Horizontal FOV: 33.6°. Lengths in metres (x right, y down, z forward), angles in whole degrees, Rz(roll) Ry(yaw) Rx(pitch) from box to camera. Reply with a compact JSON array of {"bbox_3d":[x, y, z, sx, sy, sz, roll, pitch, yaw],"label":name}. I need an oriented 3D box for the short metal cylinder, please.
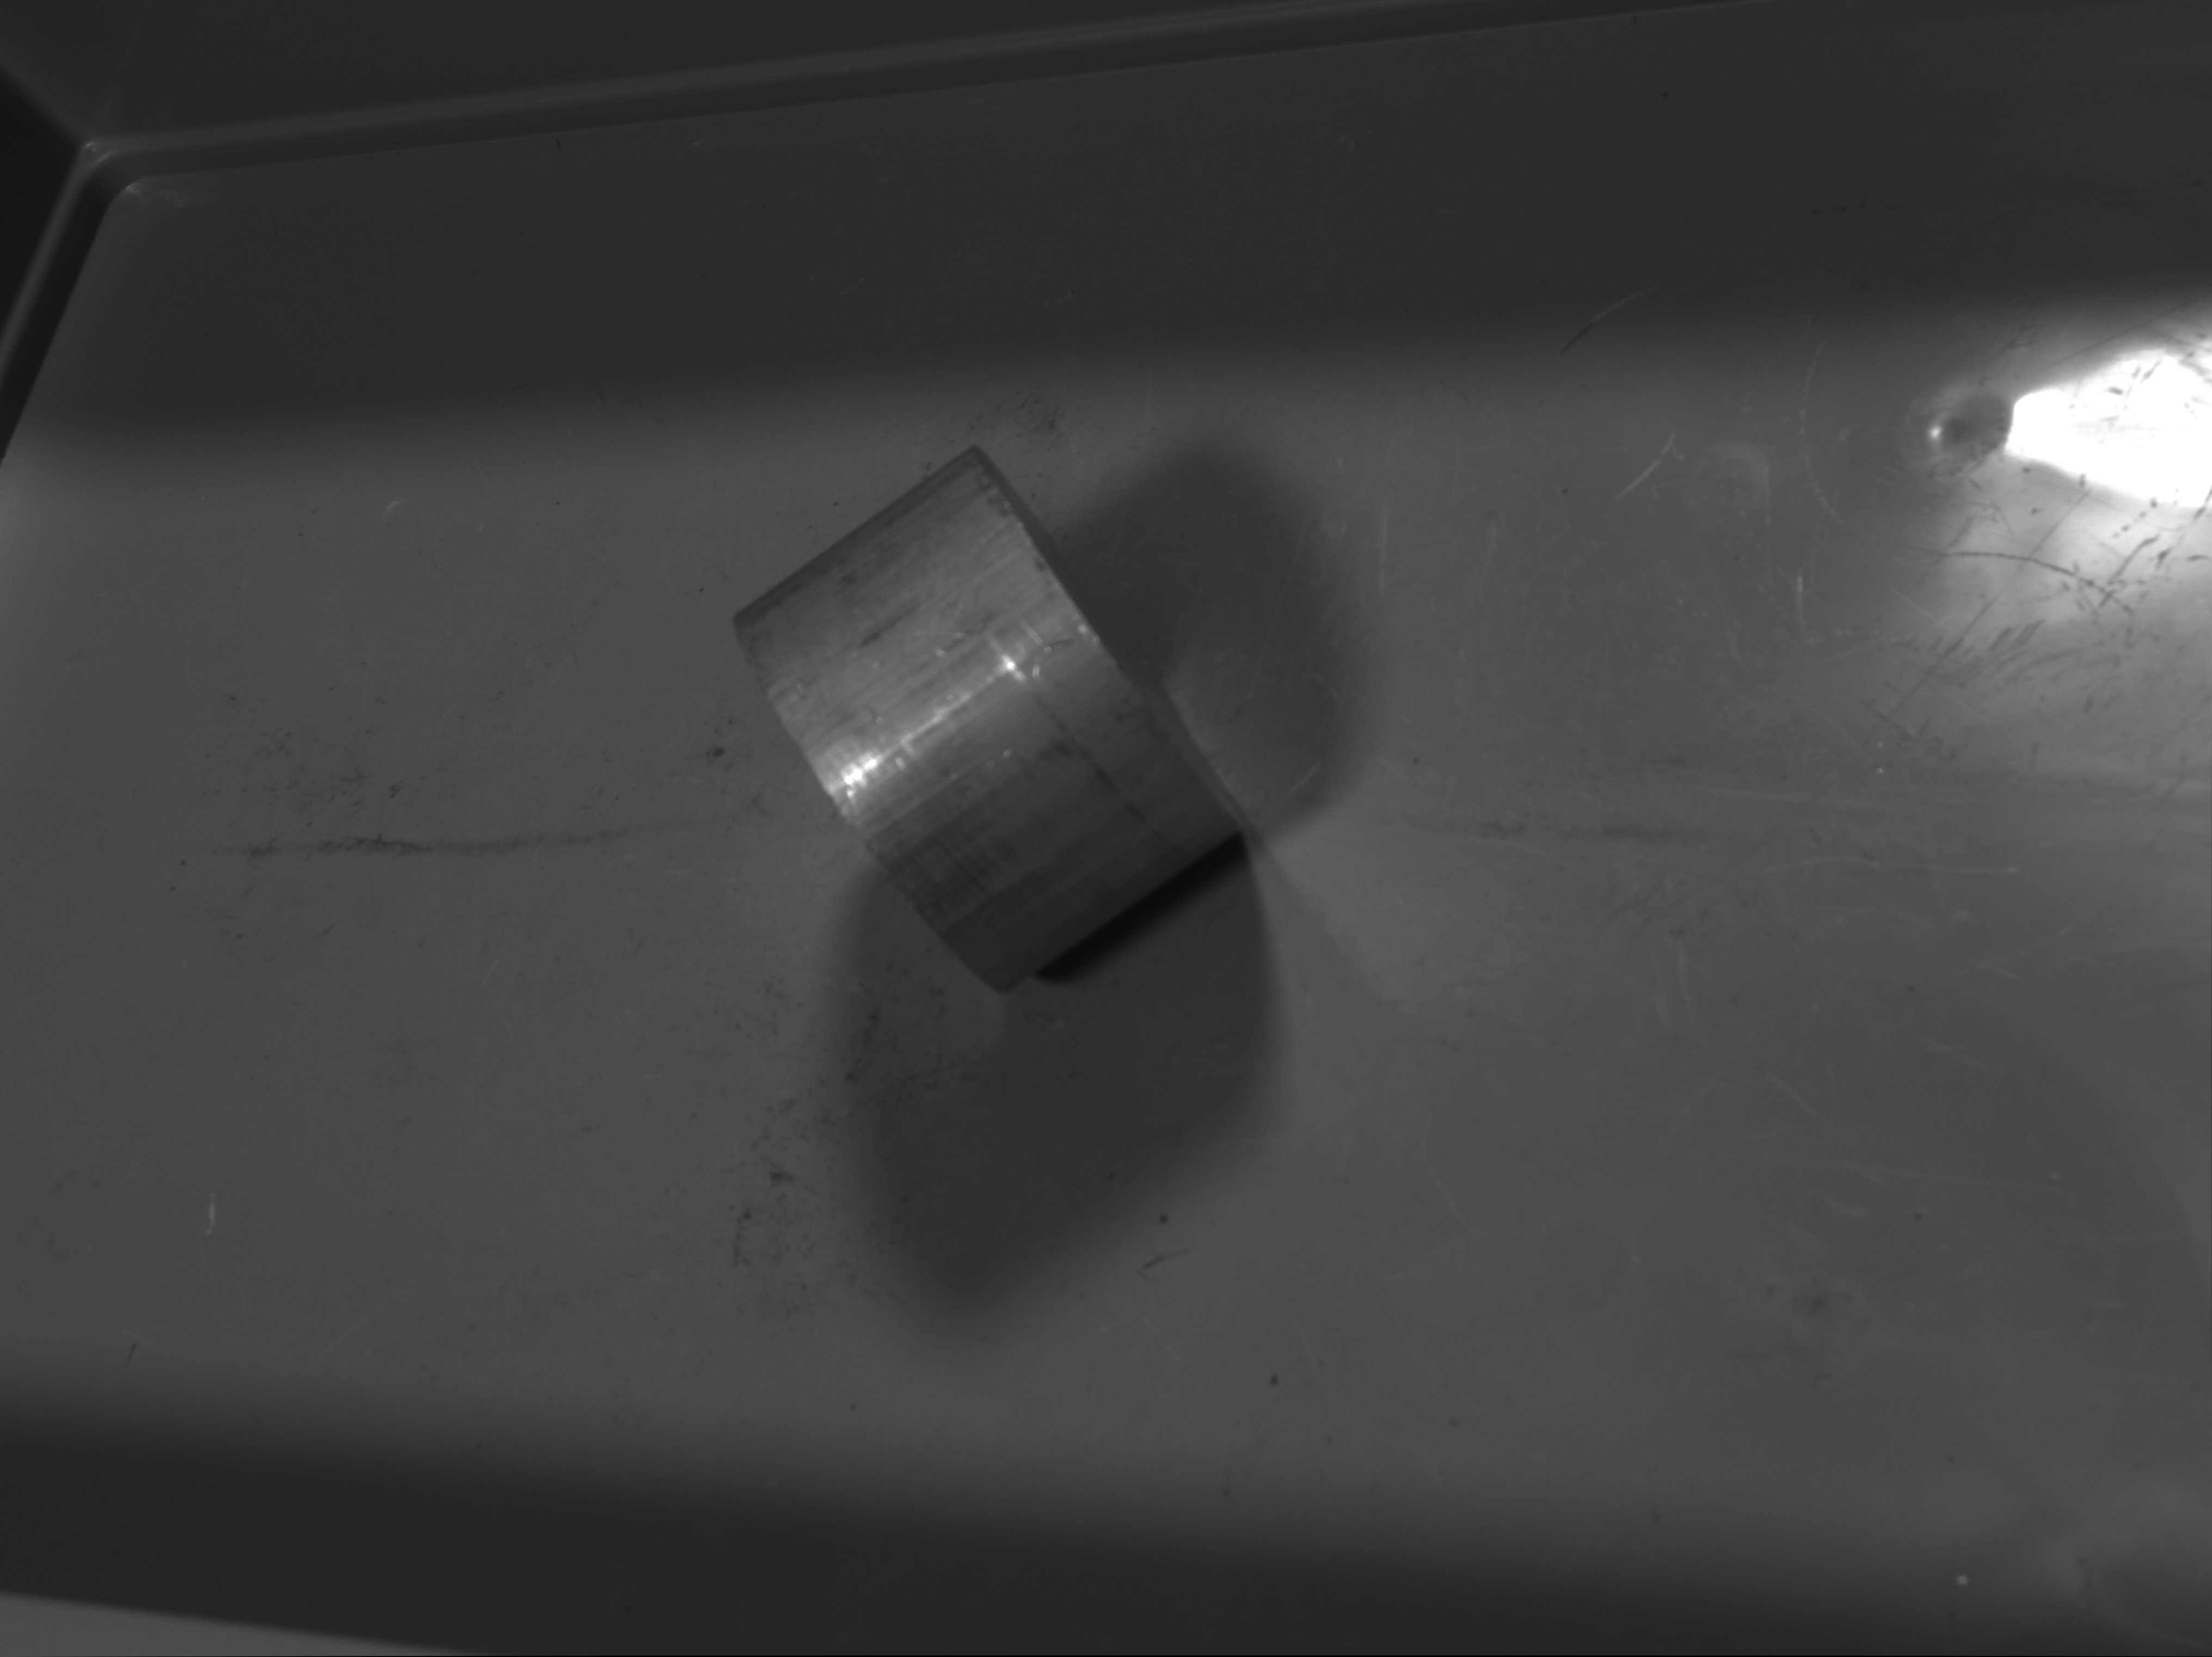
[{"bbox_3d":[-0.017,-0.019,0.627,0.050,0.080,0.080,-36,51,5],"label":"short metal cylinder"}]
